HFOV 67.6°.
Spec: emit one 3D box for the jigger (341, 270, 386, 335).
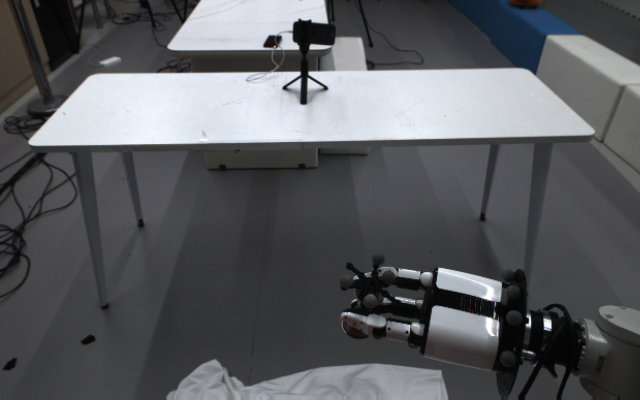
[{"bbox_3d":[0.057,0.148,0.653,0.043,0.071,0.043,10,35,-7],"label":"jigger"}]
